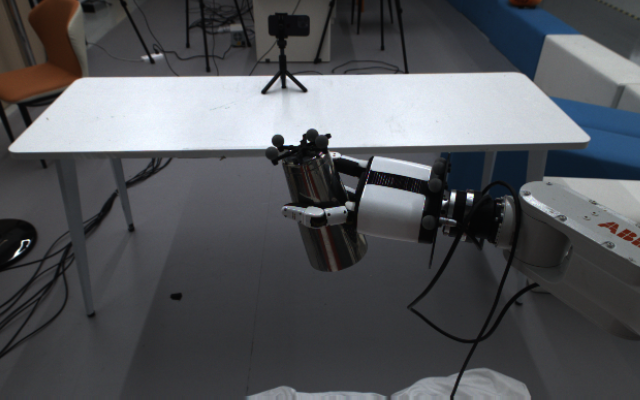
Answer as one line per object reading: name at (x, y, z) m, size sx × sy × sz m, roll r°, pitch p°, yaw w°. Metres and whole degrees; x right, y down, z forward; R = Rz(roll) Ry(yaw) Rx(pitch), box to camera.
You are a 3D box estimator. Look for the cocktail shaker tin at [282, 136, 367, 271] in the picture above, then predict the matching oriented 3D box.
cocktail shaker tin at (0.003, 0.008, 0.690) m, size 0.093 × 0.170 × 0.093 m, roll -15°, pitch 29°, yaw 8°
